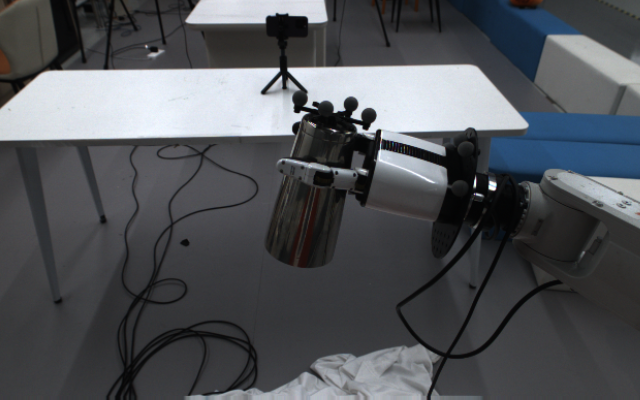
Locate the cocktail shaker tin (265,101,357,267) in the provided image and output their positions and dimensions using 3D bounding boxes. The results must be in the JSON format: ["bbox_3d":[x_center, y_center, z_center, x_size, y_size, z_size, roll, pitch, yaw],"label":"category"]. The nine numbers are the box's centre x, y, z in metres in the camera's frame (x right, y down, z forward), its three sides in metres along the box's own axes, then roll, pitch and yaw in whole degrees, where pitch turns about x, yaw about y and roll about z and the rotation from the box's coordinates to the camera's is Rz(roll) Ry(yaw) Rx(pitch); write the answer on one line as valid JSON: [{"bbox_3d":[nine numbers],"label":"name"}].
[{"bbox_3d":[-0.004,-0.016,0.591,0.093,0.170,0.093,12,25,-6],"label":"cocktail shaker tin"}]
